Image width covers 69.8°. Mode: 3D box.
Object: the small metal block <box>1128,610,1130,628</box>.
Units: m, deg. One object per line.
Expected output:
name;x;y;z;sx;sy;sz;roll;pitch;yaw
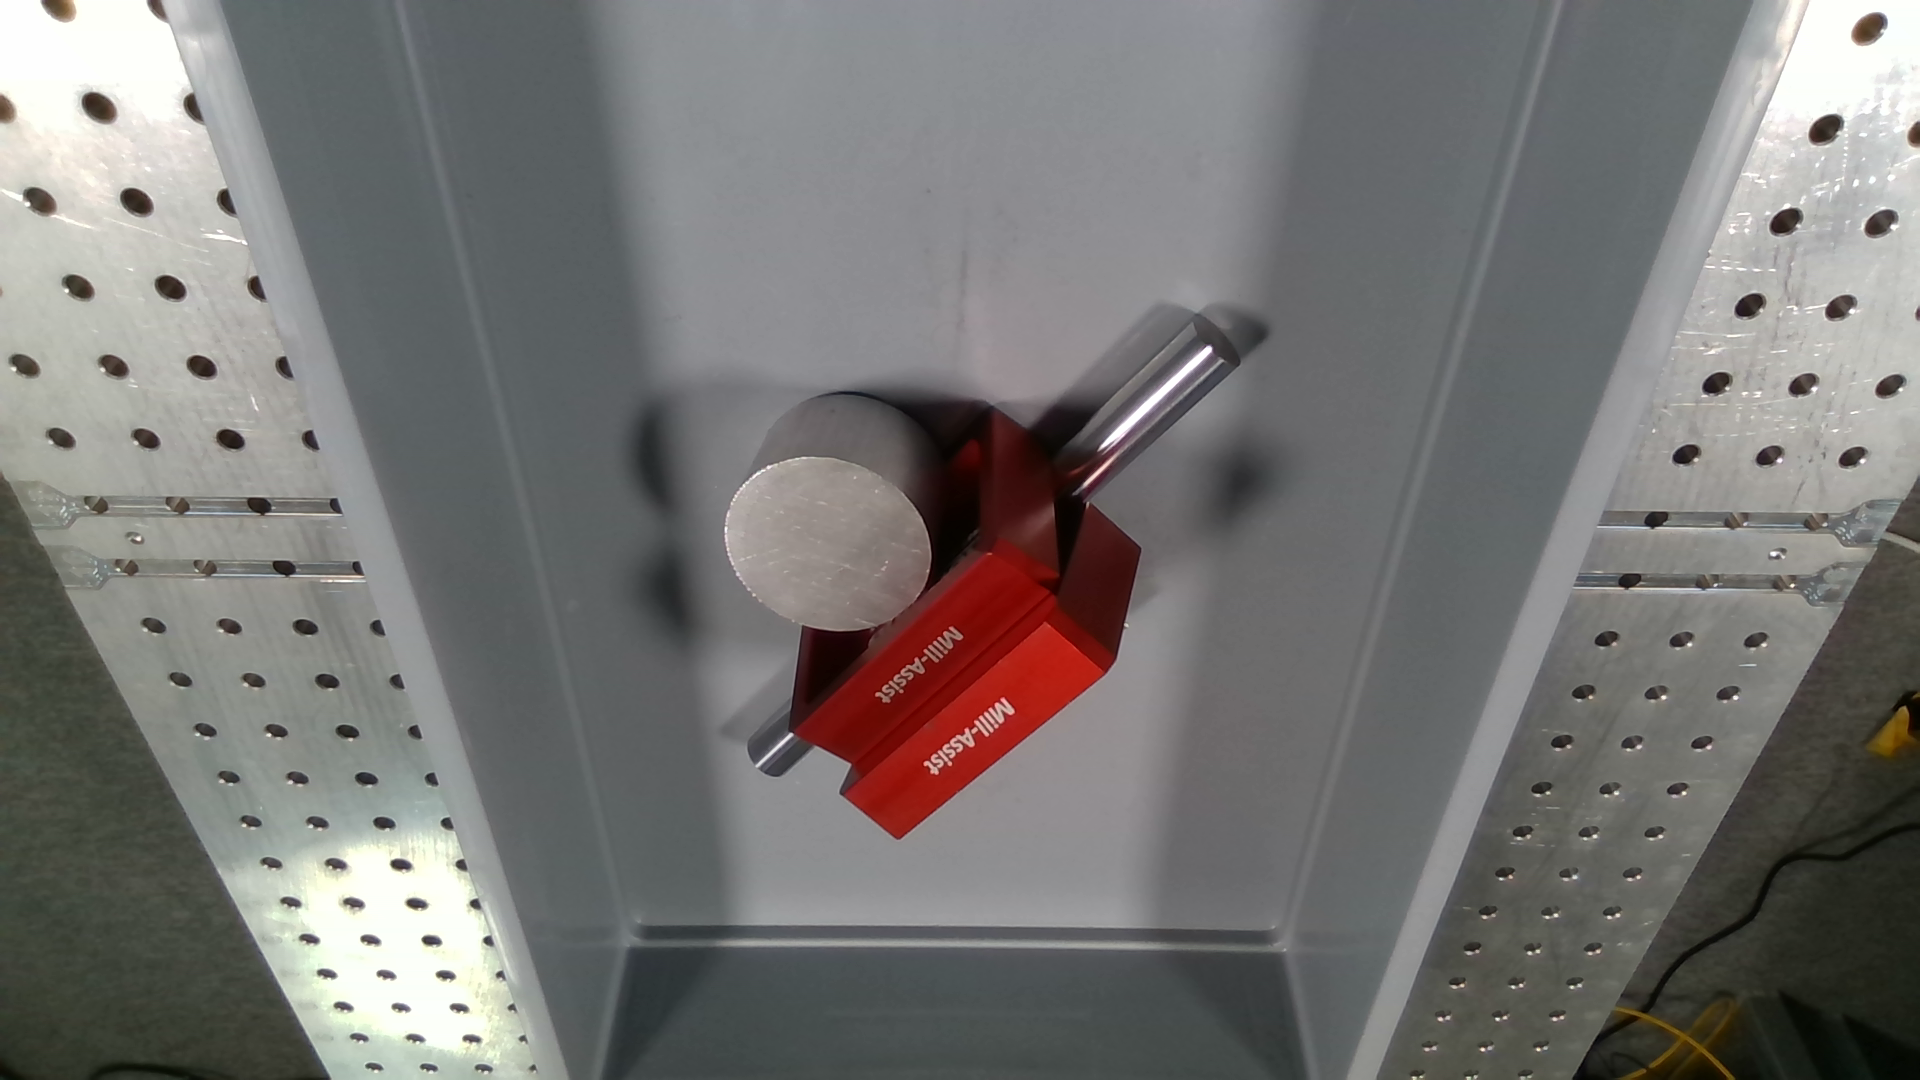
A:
small metal block;0.038;0.031;0.604;0.050;0.025;0.050;33;123;-25

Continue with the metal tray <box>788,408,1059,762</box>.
metal tray;-0.017;0.019;0.552;0.030;0.090;0.130;32;123;-24

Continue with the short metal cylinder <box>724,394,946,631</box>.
short metal cylinder;-0.048;-0.011;0.545;0.080;0.050;0.080;4;125;6

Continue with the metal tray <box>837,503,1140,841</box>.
metal tray;0.012;0.052;0.546;0.030;0.090;0.130;41;120;-9

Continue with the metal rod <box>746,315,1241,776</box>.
metal rod;0.002;0.014;0.591;0.025;0.025;0.301;32;123;-24
